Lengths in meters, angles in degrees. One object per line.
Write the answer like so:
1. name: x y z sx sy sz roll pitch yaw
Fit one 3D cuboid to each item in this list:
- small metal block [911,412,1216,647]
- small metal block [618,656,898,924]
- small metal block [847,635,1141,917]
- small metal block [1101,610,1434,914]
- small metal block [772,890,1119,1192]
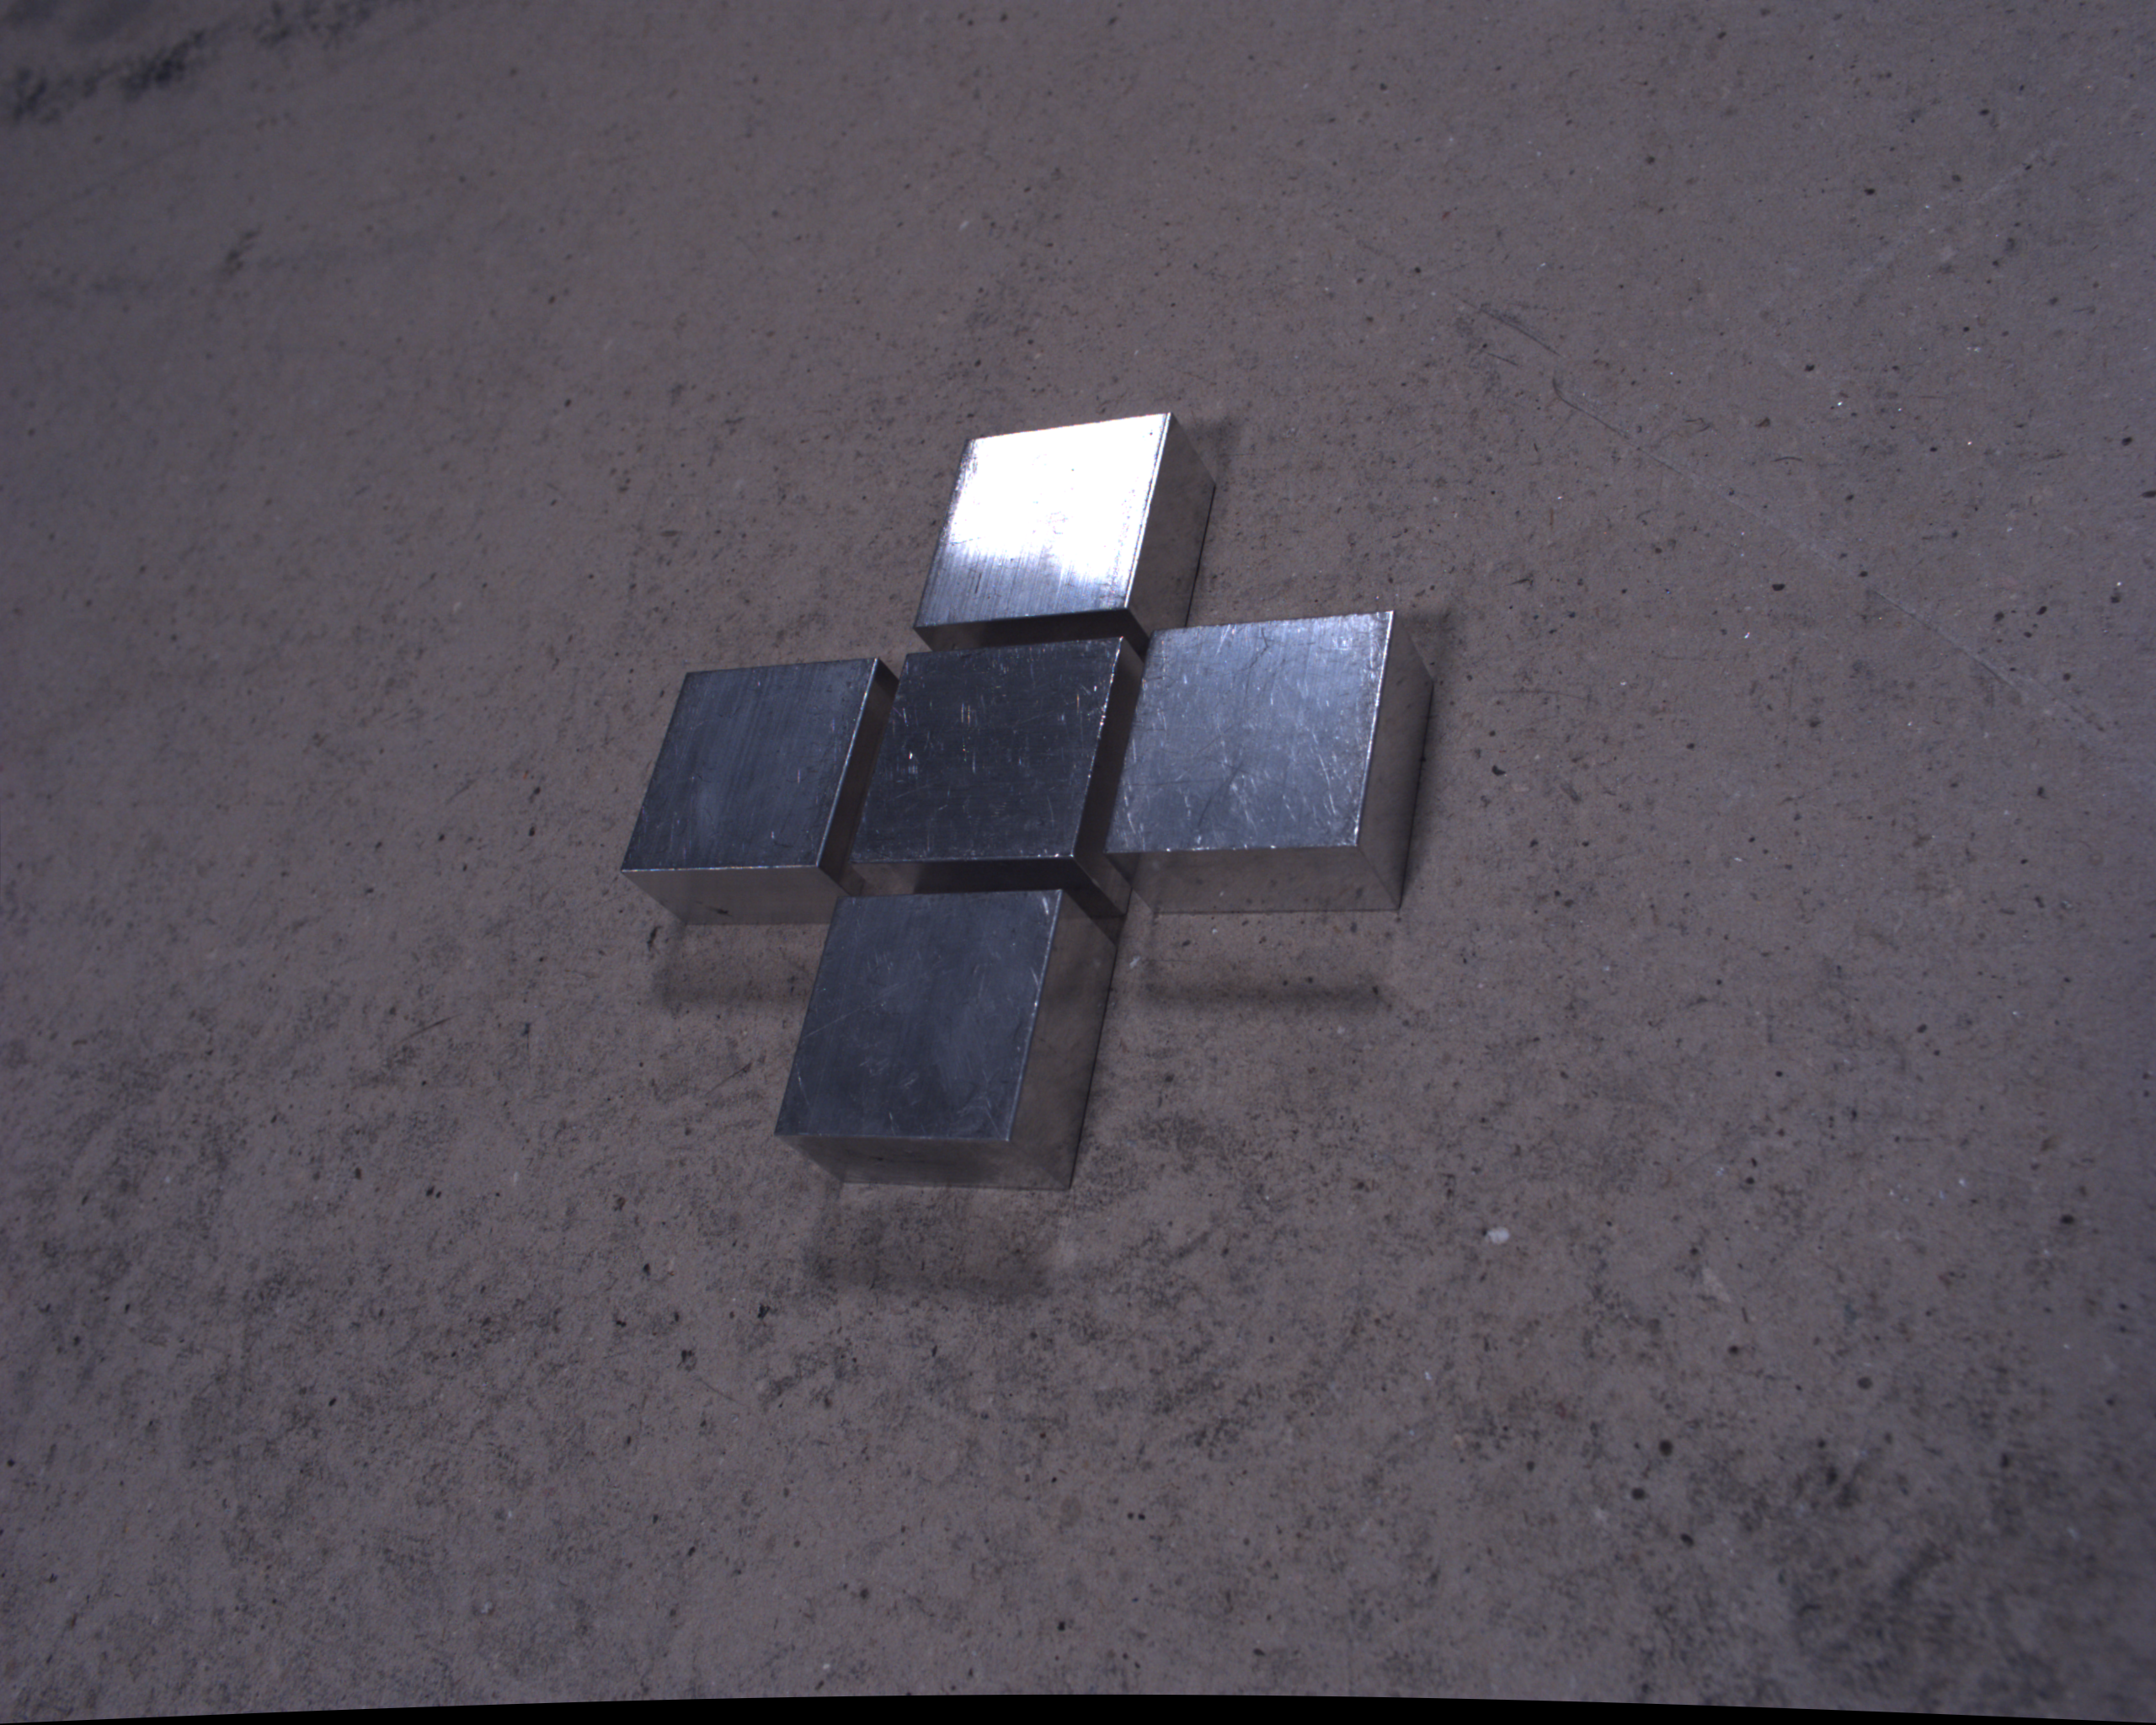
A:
1. small metal block: -0.002 -0.066 0.446 0.050 0.025 0.050 -2 61 27
2. small metal block: -0.064 -0.015 0.446 0.050 0.025 0.050 -2 61 27
3. small metal block: -0.013 -0.017 0.421 0.050 0.025 0.050 -2 61 27
4. small metal block: 0.037 -0.018 0.396 0.050 0.025 0.050 -2 61 27
5. small metal block: -0.024 0.034 0.396 0.050 0.025 0.050 -2 61 27
